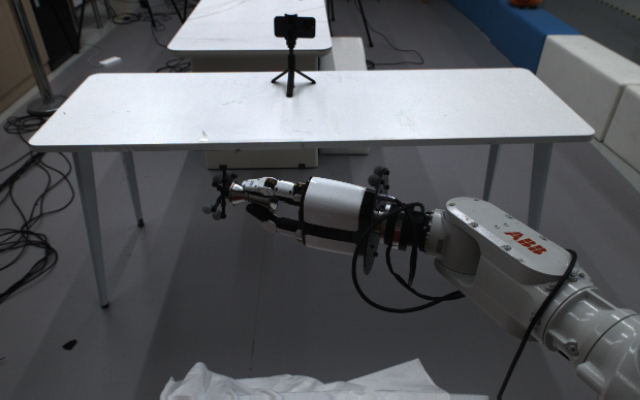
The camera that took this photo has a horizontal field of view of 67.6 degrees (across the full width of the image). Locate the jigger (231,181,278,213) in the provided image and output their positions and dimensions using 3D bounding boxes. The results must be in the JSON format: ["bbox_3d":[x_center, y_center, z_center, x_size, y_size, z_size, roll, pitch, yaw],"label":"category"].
[{"bbox_3d":[-0.097,-0.010,0.757,0.071,0.043,0.043,7,35,12],"label":"jigger"}]
